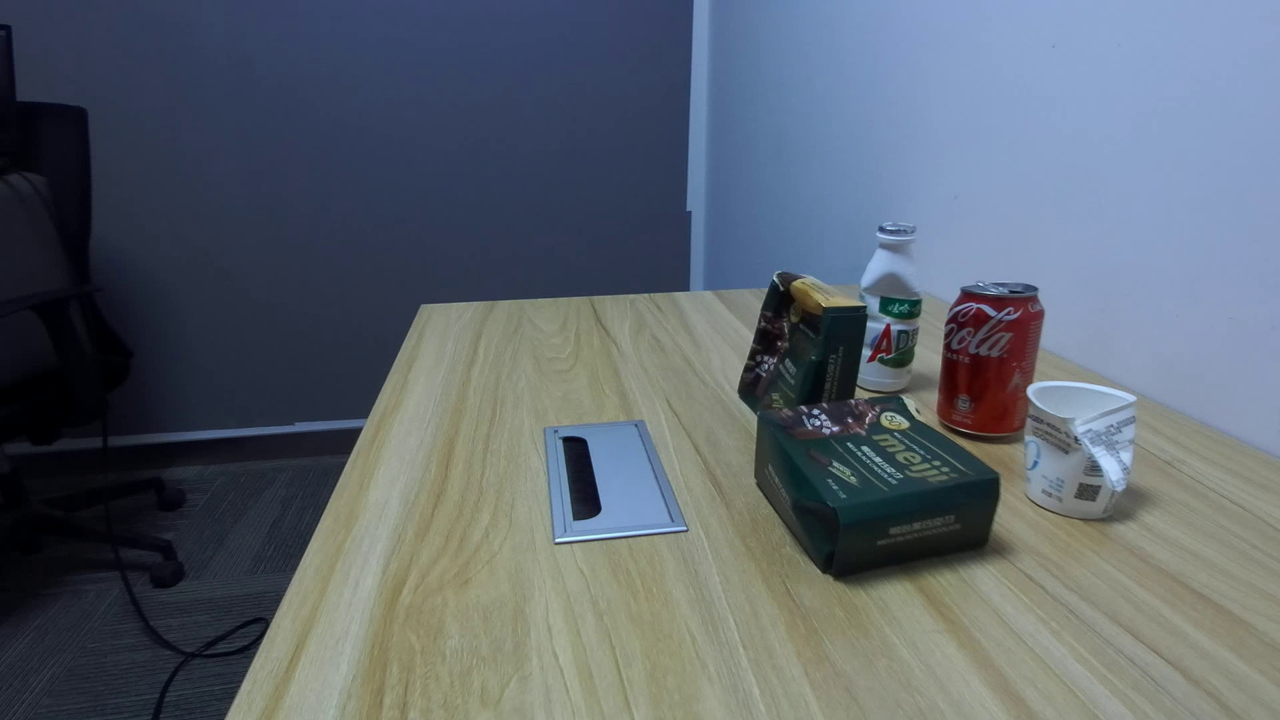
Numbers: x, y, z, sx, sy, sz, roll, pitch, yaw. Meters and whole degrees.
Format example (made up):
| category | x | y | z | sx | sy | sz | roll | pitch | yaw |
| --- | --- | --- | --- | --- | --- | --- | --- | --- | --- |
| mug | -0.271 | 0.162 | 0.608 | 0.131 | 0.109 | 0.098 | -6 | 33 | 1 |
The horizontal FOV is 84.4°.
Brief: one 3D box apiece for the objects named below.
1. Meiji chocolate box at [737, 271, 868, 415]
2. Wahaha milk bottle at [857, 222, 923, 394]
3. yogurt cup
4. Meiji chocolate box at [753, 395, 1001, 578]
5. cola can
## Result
| category | x | y | z | sx | sy | sz | roll | pitch | yaw |
| --- | --- | --- | --- | --- | --- | --- | --- | --- | --- |
| Meiji chocolate box | 0.131 | -0.004 | 0.564 | 0.052 | 0.117 | 0.117 | 2 | 19 | -16 |
| Wahaha milk bottle | 0.220 | -0.045 | 0.625 | 0.056 | 0.147 | 0.056 | 1 | 22 | 0 |
| yogurt cup | 0.281 | 0.058 | 0.457 | 0.067 | 0.070 | 0.067 | -3 | 20 | 1 |
| Meiji chocolate box | 0.141 | 0.074 | 0.437 | 0.123 | 0.058 | 0.115 | -5 | 24 | -13 |
| cola can | 0.273 | -0.001 | 0.548 | 0.072 | 0.117 | 0.065 | -7 | 22 | -16 |
